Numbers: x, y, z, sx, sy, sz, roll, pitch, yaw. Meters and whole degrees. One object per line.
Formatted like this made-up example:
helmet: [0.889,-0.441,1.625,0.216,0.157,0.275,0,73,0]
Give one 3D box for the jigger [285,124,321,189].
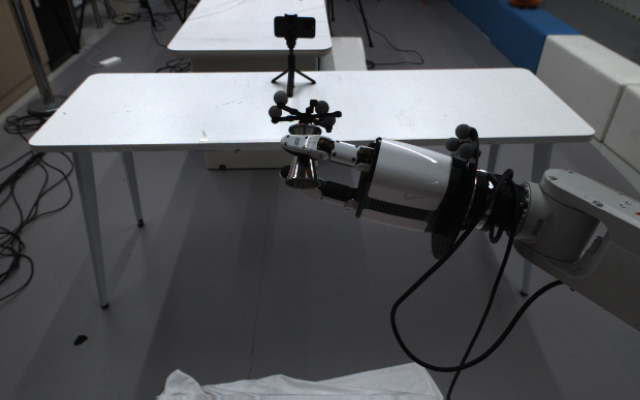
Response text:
jigger: [-0.020,-0.052,0.575,0.043,0.043,0.071,3,76,1]
